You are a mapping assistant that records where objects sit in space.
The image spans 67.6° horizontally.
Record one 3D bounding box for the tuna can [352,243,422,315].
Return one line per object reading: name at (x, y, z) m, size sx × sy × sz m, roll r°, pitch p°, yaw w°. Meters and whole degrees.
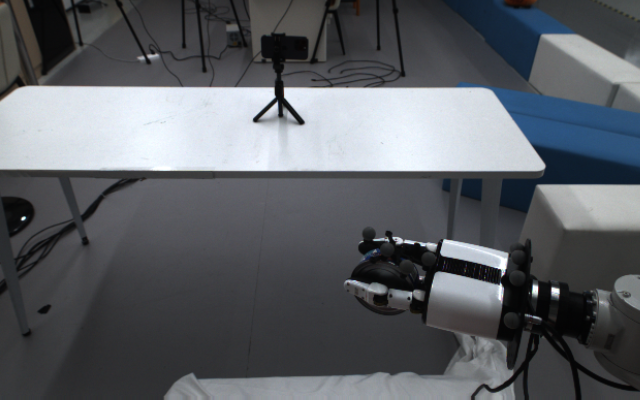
tuna can at (0.089, 0.105, 0.634) m, size 0.085 × 0.085 × 0.034 m, roll 16°, pitch 28°, yaw 19°
